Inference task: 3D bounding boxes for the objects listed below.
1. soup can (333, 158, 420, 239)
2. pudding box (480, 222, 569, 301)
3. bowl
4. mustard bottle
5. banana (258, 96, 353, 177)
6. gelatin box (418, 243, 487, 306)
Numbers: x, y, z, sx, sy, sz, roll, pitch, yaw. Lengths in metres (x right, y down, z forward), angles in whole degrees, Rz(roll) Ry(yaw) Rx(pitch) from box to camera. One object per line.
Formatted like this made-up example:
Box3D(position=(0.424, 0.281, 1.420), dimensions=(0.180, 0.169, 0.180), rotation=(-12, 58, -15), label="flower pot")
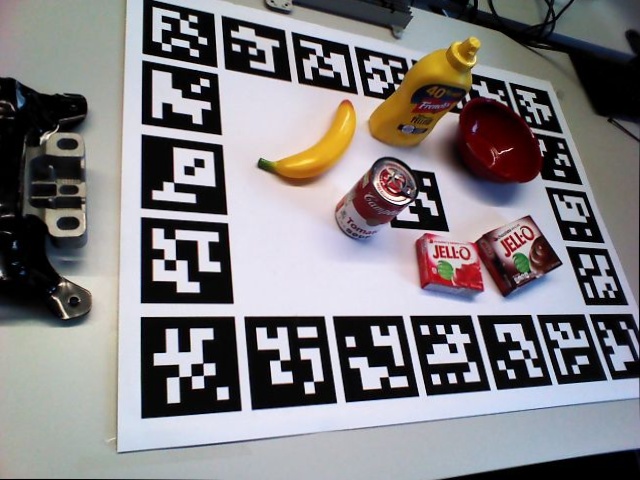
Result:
Box3D(position=(0.068, -0.053, 0.648), dimensions=(0.068, 0.103, 0.067), rotation=(12, 58, -21), label="soup can")
Box3D(position=(0.303, 0.027, 0.768), dimensions=(0.113, 0.039, 0.090), rotation=(-22, 81, -32), label="pudding box")
Box3D(position=(0.288, -0.145, 0.843), dimensions=(0.161, 0.055, 0.161), rotation=(10, 61, -19), label="bowl")
Box3D(position=(0.163, -0.205, 0.714), dimensions=(0.096, 0.193, 0.058), rotation=(4, 61, -24), label="mustard bottle")
Box3D(position=(0.000, -0.140, 0.710), dimensions=(0.074, 0.039, 0.196), rotation=(35, 55, 7), label="banana")
Box3D(position=(0.181, 0.047, 0.706), dimensions=(0.089, 0.030, 0.073), rotation=(10, 64, -20), label="gelatin box")
